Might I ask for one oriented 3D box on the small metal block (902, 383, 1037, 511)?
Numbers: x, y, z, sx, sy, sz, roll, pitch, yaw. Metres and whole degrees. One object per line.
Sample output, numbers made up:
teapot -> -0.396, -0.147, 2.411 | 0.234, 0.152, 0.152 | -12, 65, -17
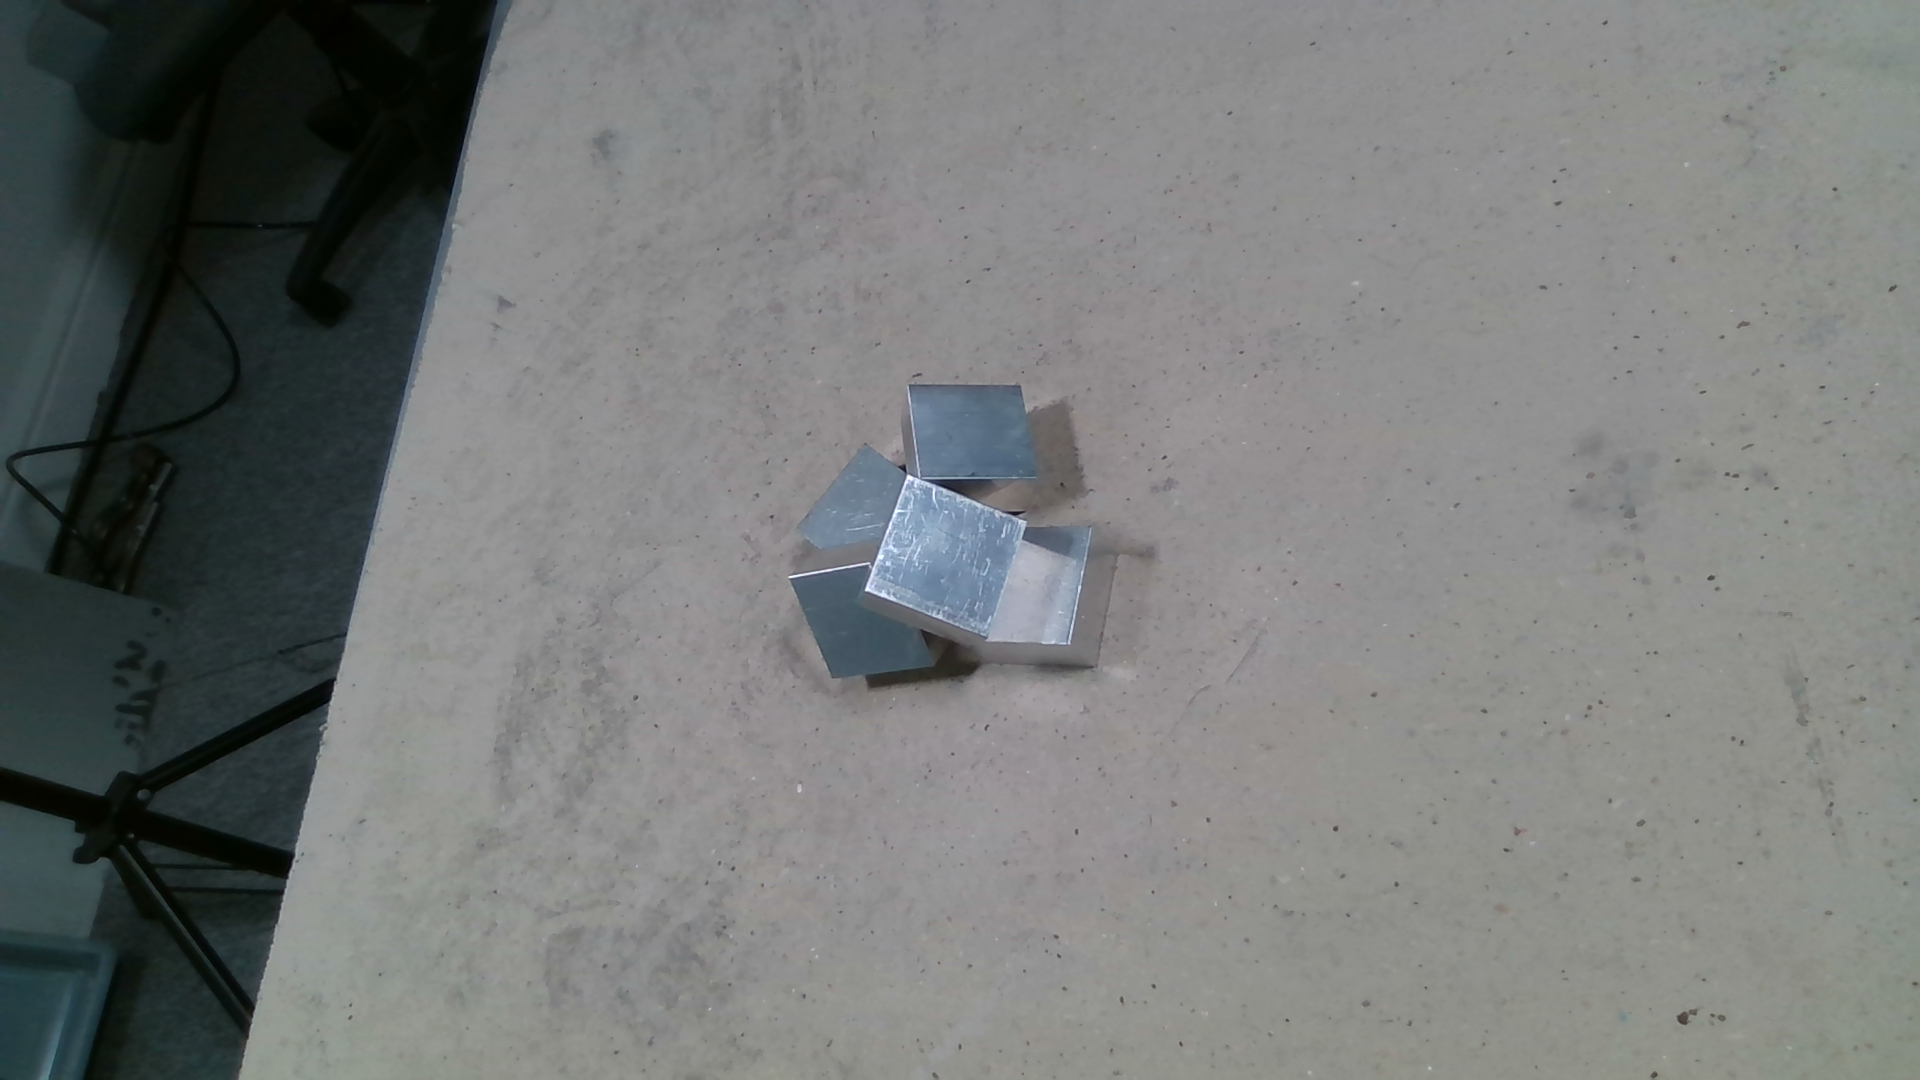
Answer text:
small metal block -> 0.003, -0.039, 0.589 | 0.050, 0.025, 0.050 | -1, 58, -11

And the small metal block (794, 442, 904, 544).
small metal block -> -0.037, -0.008, 0.613 | 0.050, 0.025, 0.050 | 37, 88, 39

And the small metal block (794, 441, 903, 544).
small metal block -> -0.038, -0.008, 0.613 | 0.050, 0.025, 0.050 | -51, 51, -2

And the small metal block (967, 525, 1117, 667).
small metal block -> 0.031, 0.022, 0.555 | 0.050, 0.025, 0.050 | -1, 65, 31

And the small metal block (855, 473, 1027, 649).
small metal block -> -0.008, 0.009, 0.536 | 0.050, 0.025, 0.050 | 21, 74, -7

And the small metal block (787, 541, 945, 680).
small metal block -> -0.037, 0.028, 0.574 | 0.050, 0.050, 0.025 | -10, 22, 27
